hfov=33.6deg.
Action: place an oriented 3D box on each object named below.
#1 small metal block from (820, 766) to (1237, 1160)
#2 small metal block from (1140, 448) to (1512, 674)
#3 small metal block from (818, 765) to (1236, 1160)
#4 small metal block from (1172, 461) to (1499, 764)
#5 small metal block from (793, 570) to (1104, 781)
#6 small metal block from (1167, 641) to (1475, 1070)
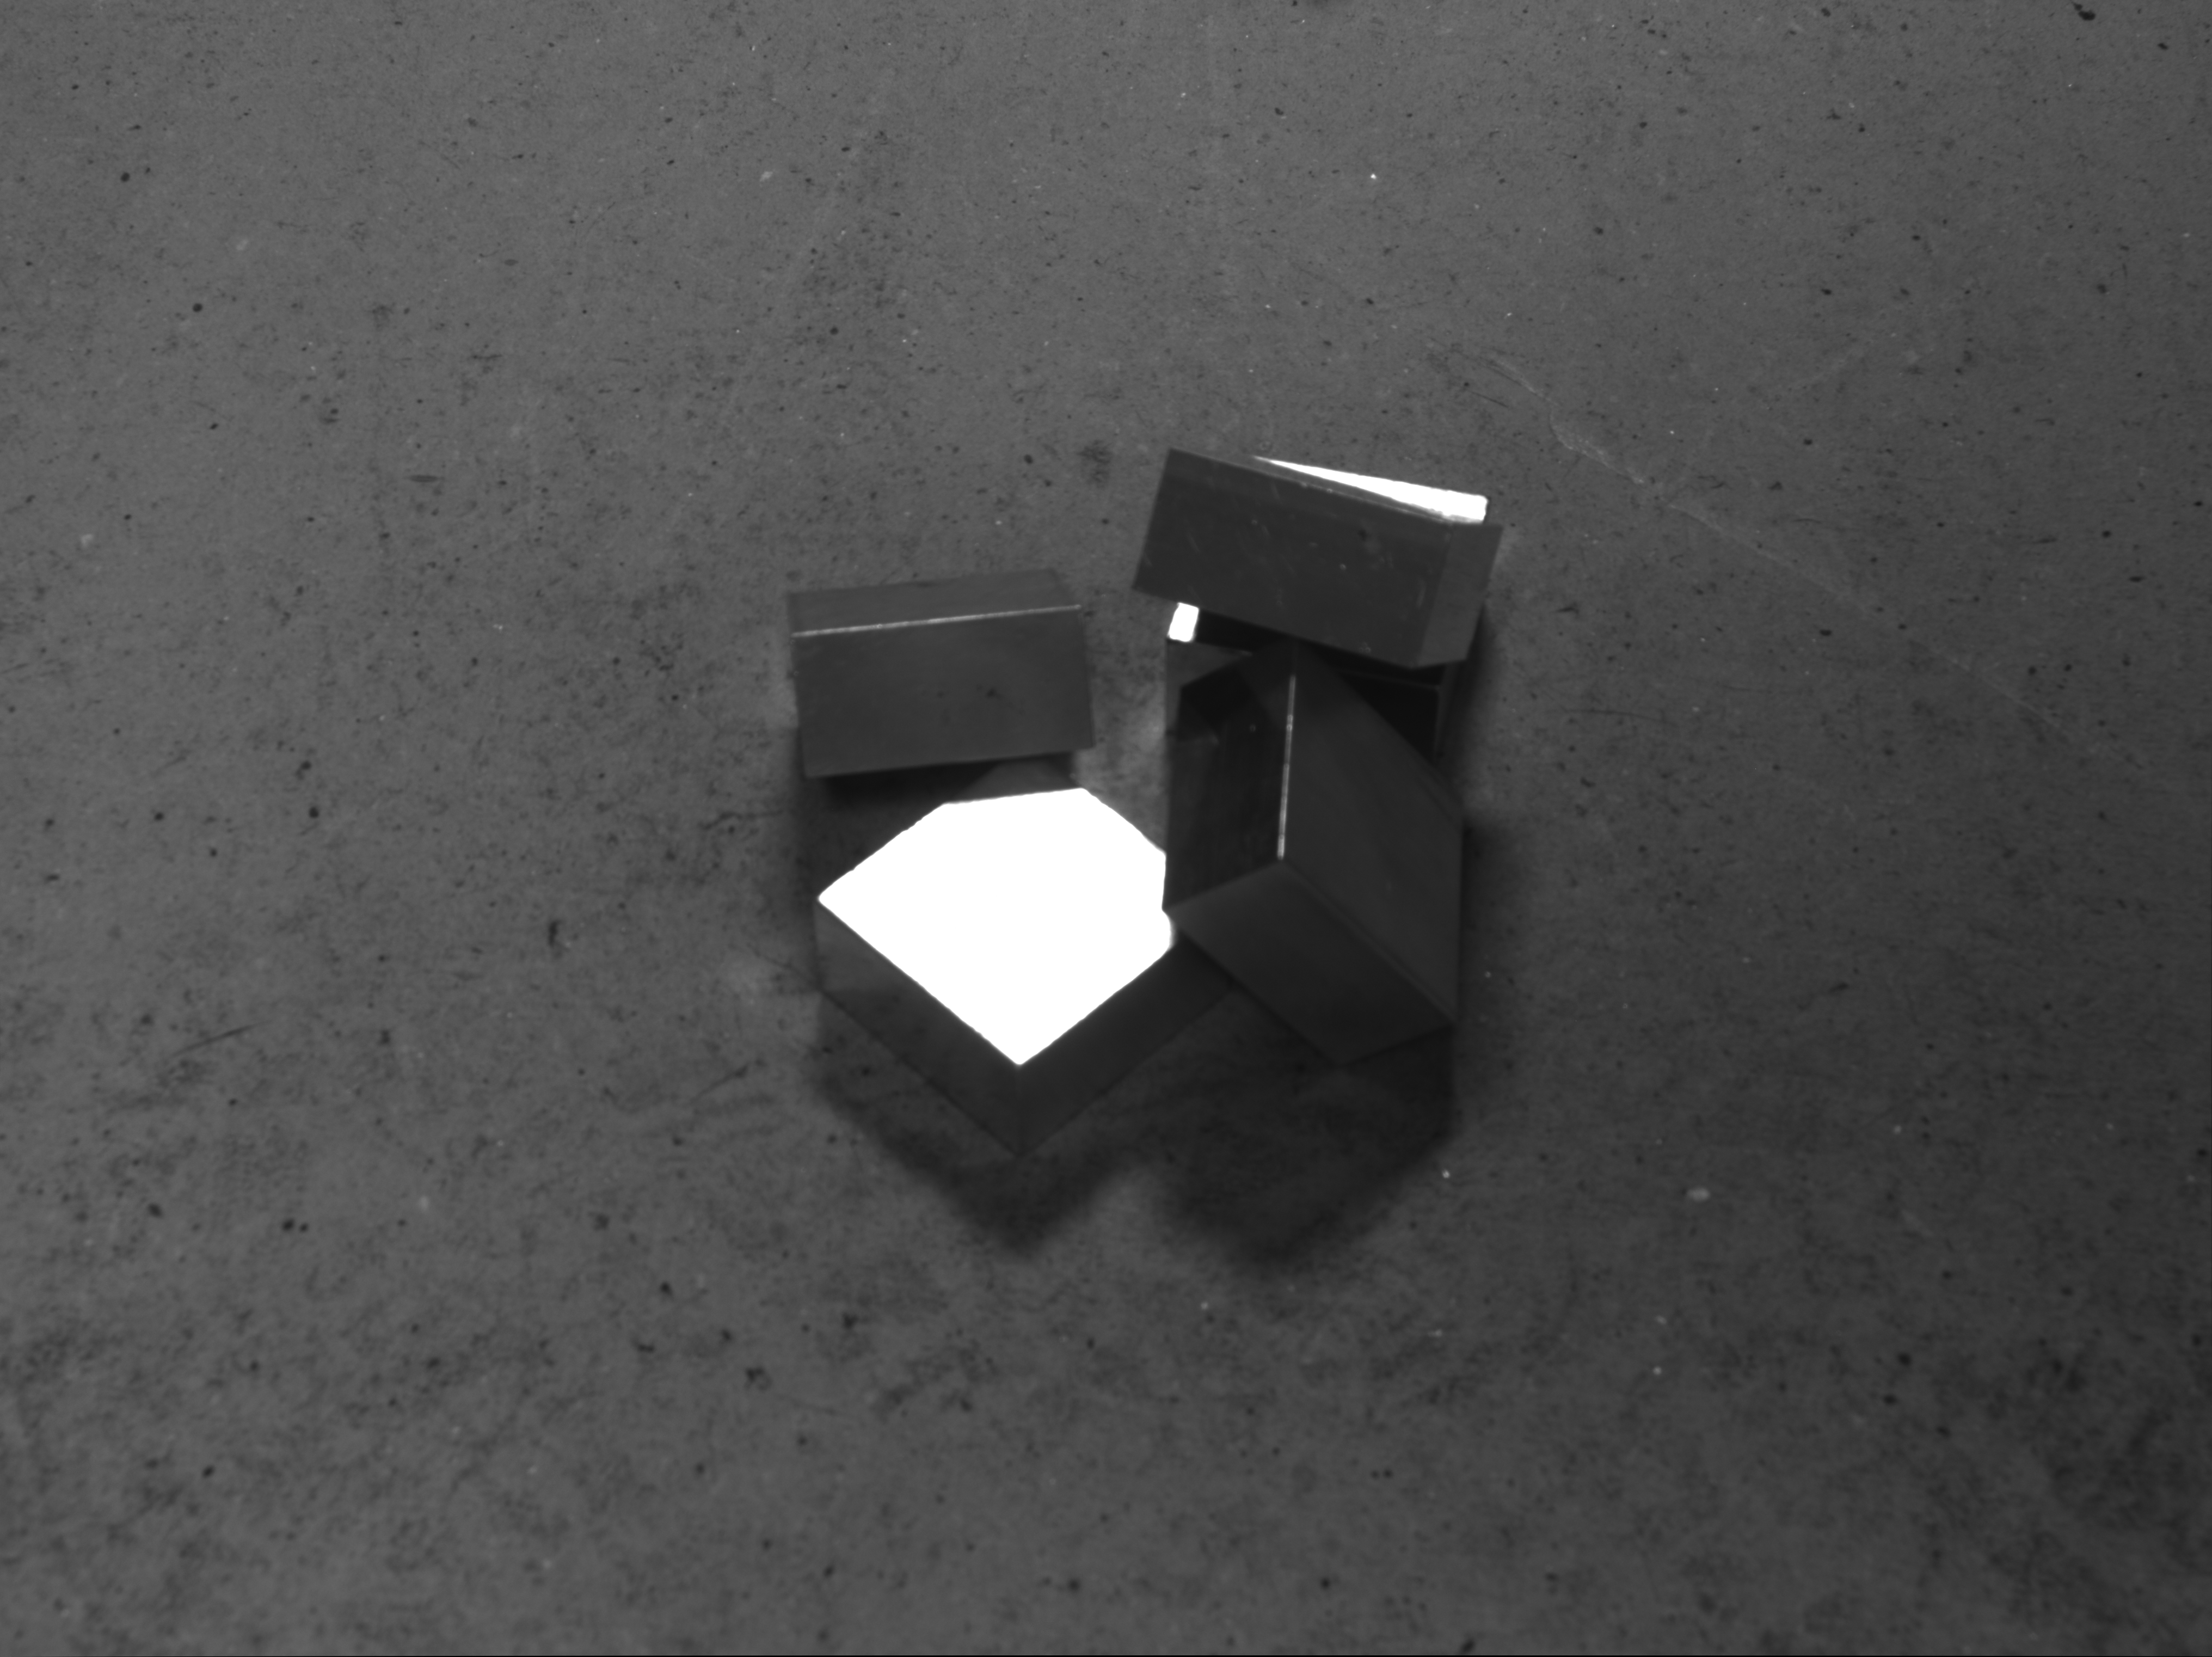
[{"bbox_3d":[-0.013,0.020,0.625,0.050,0.025,0.050,-37,59,-27],"label":"small metal block"},{"bbox_3d":[0.039,-0.046,0.631,0.050,0.025,0.050,17,8,14],"label":"small metal block"},{"bbox_3d":[-0.013,0.020,0.625,0.050,0.025,0.050,-37,59,-27],"label":"small metal block"},{"bbox_3d":[0.042,-0.039,0.676,0.050,0.025,0.050,11,51,9],"label":"small metal block"},{"bbox_3d":[-0.029,-0.028,0.649,0.050,0.025,0.050,-6,12,-5],"label":"small metal block"},{"bbox_3d":[0.037,0.004,0.620,0.025,0.050,0.050,-24,41,31],"label":"small metal block"}]
